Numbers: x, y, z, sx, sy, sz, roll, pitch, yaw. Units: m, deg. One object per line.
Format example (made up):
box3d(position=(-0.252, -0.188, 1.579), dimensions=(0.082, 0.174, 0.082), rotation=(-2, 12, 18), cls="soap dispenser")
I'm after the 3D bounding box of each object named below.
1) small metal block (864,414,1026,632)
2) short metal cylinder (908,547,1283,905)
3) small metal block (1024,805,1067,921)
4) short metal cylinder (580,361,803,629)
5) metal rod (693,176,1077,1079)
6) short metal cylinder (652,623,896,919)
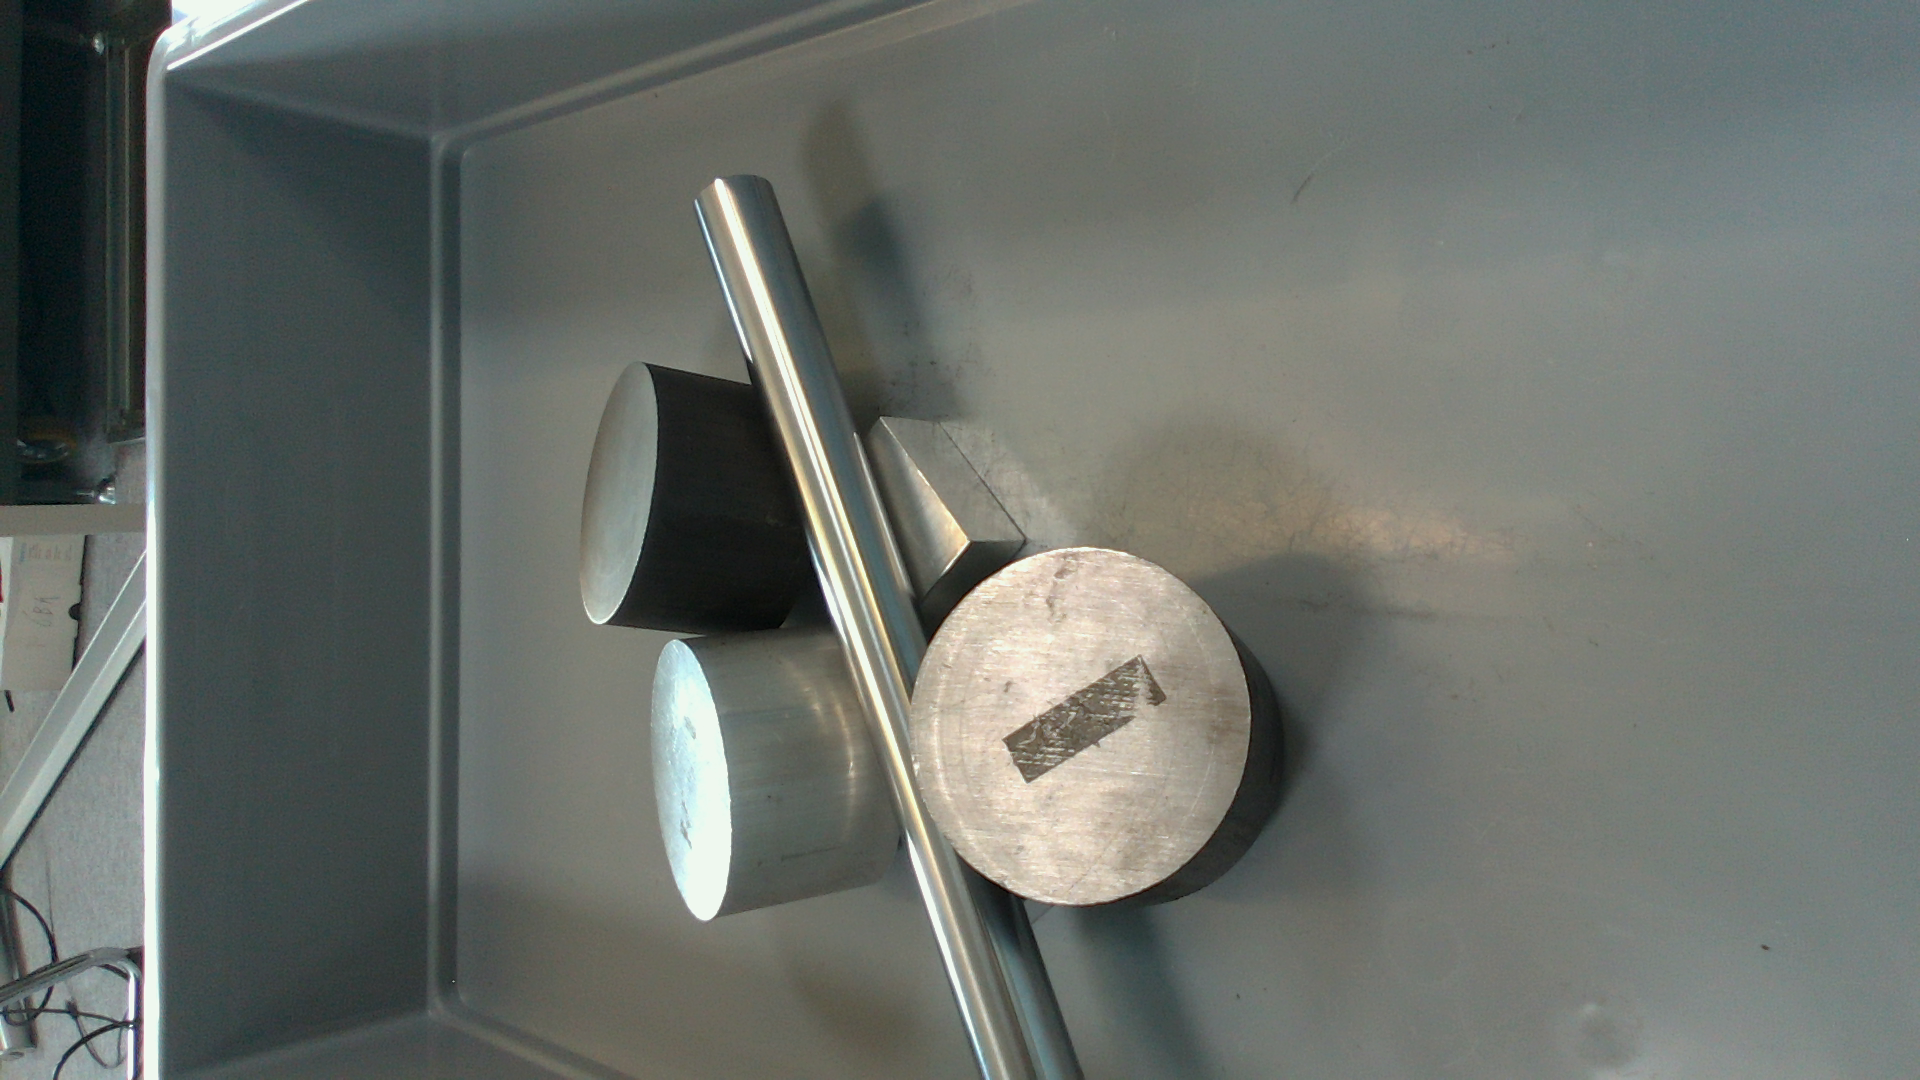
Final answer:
box3d(position=(-0.016, -0.001, 0.407), dimensions=(0.050, 0.025, 0.050), rotation=(-51, 60, 28), cls="small metal block")
box3d(position=(0.034, 0.047, 0.331), dimensions=(0.080, 0.050, 0.080), rotation=(-6, 73, 20), cls="short metal cylinder")
box3d(position=(0.013, 0.076, 0.383), dimensions=(0.050, 0.025, 0.050), rotation=(-48, 61, 29), cls="small metal block")
box3d(position=(-0.083, -0.011, 0.429), dimensions=(0.080, 0.050, 0.080), rotation=(-26, 59, 56), cls="short metal cylinder")
box3d(position=(-0.020, 0.032, 0.377), dimensions=(0.025, 0.025, 0.300), rotation=(-32, 70, 36), cls="metal rod")
box3d(position=(-0.057, 0.067, 0.407), dimensions=(0.080, 0.050, 0.080), rotation=(16, 108, 61), cls="short metal cylinder")
